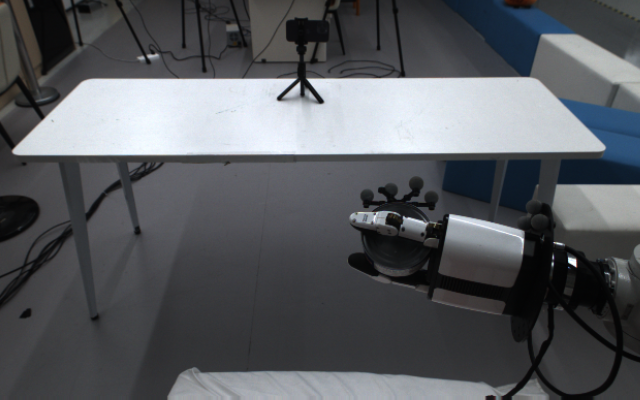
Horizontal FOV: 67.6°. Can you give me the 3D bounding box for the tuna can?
[{"bbox_3d":[0.094,0.046,0.583,0.085,0.034,0.085,-4,61,7],"label":"tuna can"}]
